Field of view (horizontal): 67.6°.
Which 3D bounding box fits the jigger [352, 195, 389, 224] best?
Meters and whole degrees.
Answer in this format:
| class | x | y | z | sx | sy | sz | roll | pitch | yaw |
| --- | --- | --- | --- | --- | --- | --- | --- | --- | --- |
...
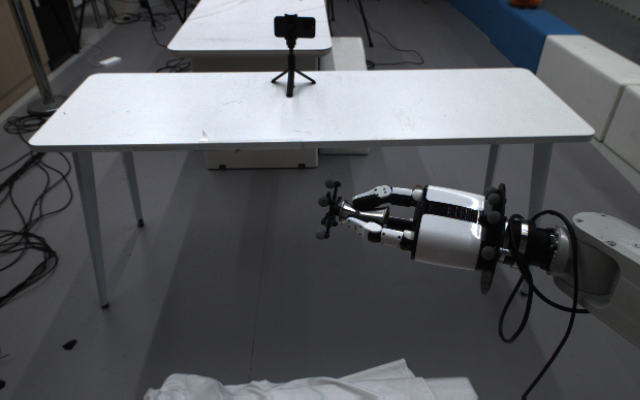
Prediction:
| class | x | y | z | sx | sy | sz | roll | pitch | yaw |
| --- | --- | --- | --- | --- | --- | --- | --- | --- | --- |
| jigger | 0.072 | 0.022 | 0.728 | 0.071 | 0.043 | 0.043 | 11 | 36 | 15 |
